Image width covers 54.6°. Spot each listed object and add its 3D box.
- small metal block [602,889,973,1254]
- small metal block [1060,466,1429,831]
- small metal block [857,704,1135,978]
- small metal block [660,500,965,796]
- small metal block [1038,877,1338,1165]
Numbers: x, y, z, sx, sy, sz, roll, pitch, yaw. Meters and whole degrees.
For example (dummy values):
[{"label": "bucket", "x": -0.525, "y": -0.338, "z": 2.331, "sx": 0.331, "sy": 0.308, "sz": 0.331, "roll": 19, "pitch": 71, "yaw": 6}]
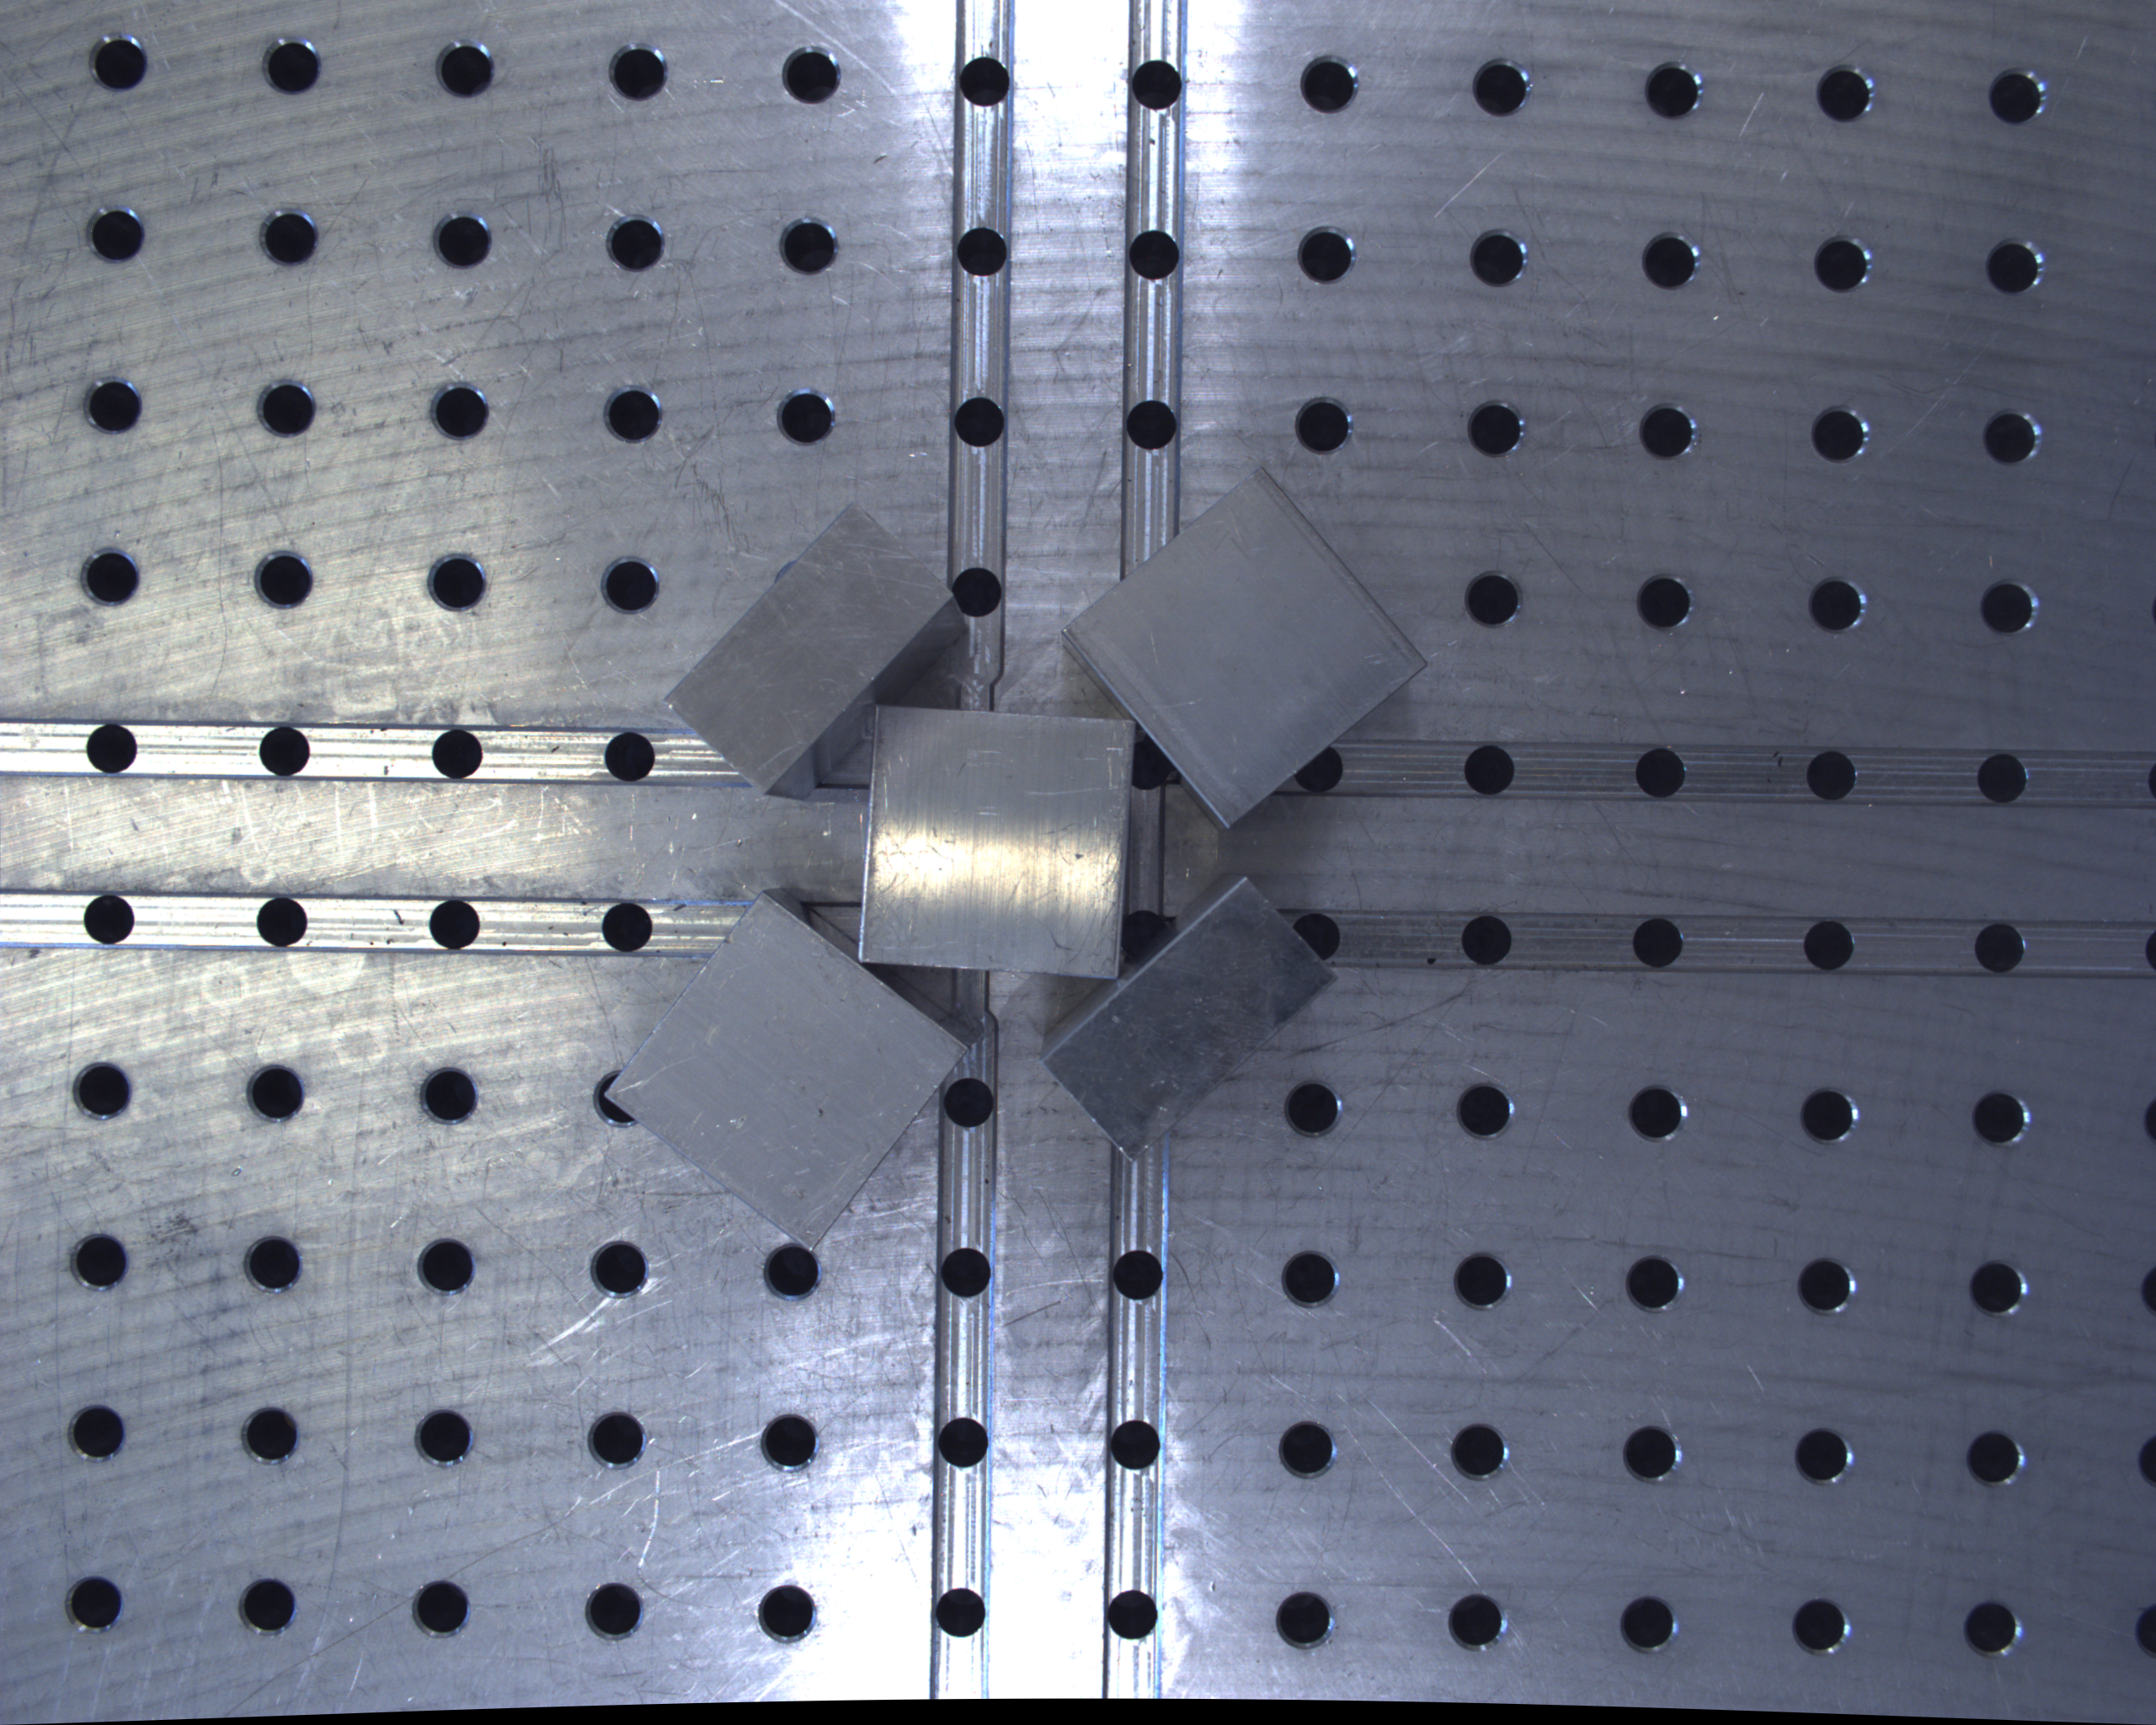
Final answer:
[{"label": "small metal block", "x": -0.056, "y": 0.040, "z": 0.413, "sx": 0.050, "sy": 0.025, "sz": 0.050, "roll": 38, "pitch": 89, "yaw": -1}, {"label": "small metal block", "x": 0.032, "y": -0.041, "z": 0.413, "sx": 0.050, "sy": 0.025, "sz": 0.050, "roll": -40, "pitch": 90, "yaw": 0}, {"label": "small metal block", "x": -0.015, "y": -0.004, "z": 0.413, "sx": 0.050, "sy": 0.025, "sz": 0.050, "roll": 4, "pitch": 89, "yaw": 1}, {"label": "small metal block", "x": -0.049, "y": -0.039, "z": 0.400, "sx": 0.025, "sy": 0.050, "sz": 0.050, "roll": 44, "pitch": 91, "yaw": -1}, {"label": "small metal block", "x": 0.020, "y": 0.028, "z": 0.401, "sx": 0.050, "sy": 0.050, "sz": 0.025, "roll": -42, "pitch": 90, "yaw": 0}]
